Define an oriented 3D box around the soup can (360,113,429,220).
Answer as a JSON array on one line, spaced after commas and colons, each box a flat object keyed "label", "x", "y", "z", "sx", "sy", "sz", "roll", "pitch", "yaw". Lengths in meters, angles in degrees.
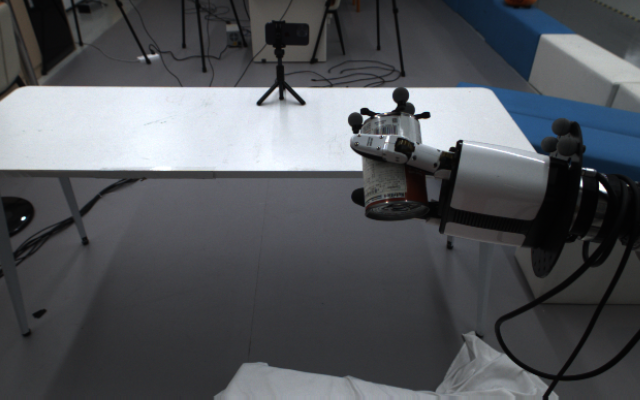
[{"label": "soup can", "x": 0.080, "y": -0.037, "z": 0.526, "sx": 0.067, "sy": 0.067, "sz": 0.101, "roll": -1, "pitch": 72, "yaw": -4}]
